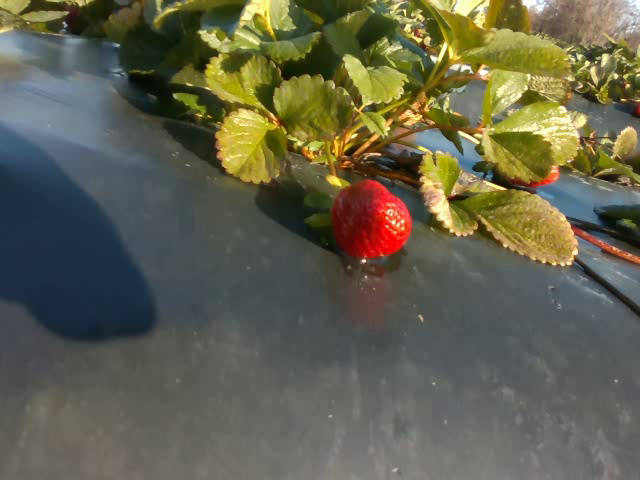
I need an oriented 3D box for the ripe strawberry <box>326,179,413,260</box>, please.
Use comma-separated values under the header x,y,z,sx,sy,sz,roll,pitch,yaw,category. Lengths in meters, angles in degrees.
x,y,z,sx,sy,sz,roll,pitch,yaw,category
0.016,-0.007,0.181,0.028,0.031,0.041,-12,-4,-12,ripe strawberry
